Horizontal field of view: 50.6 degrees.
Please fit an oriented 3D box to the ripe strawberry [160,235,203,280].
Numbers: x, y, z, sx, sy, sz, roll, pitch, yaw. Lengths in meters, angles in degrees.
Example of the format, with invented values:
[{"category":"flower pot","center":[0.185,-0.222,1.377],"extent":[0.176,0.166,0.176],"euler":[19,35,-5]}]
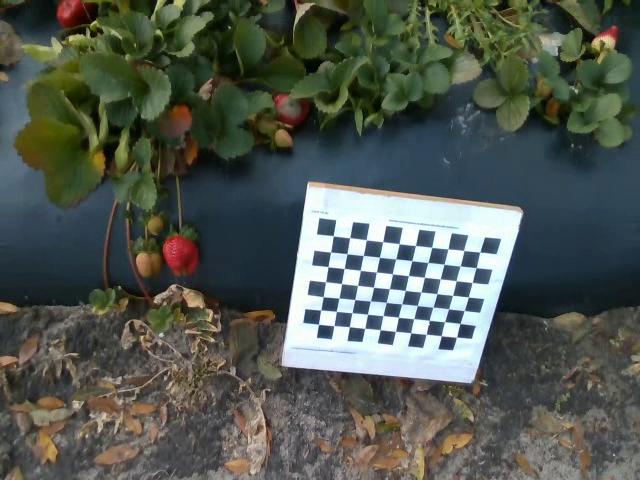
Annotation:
[{"category":"ripe strawberry","center":[-0.211,0.024,0.992],"extent":[0.067,0.074,0.052],"euler":[-11,23,1]}]
